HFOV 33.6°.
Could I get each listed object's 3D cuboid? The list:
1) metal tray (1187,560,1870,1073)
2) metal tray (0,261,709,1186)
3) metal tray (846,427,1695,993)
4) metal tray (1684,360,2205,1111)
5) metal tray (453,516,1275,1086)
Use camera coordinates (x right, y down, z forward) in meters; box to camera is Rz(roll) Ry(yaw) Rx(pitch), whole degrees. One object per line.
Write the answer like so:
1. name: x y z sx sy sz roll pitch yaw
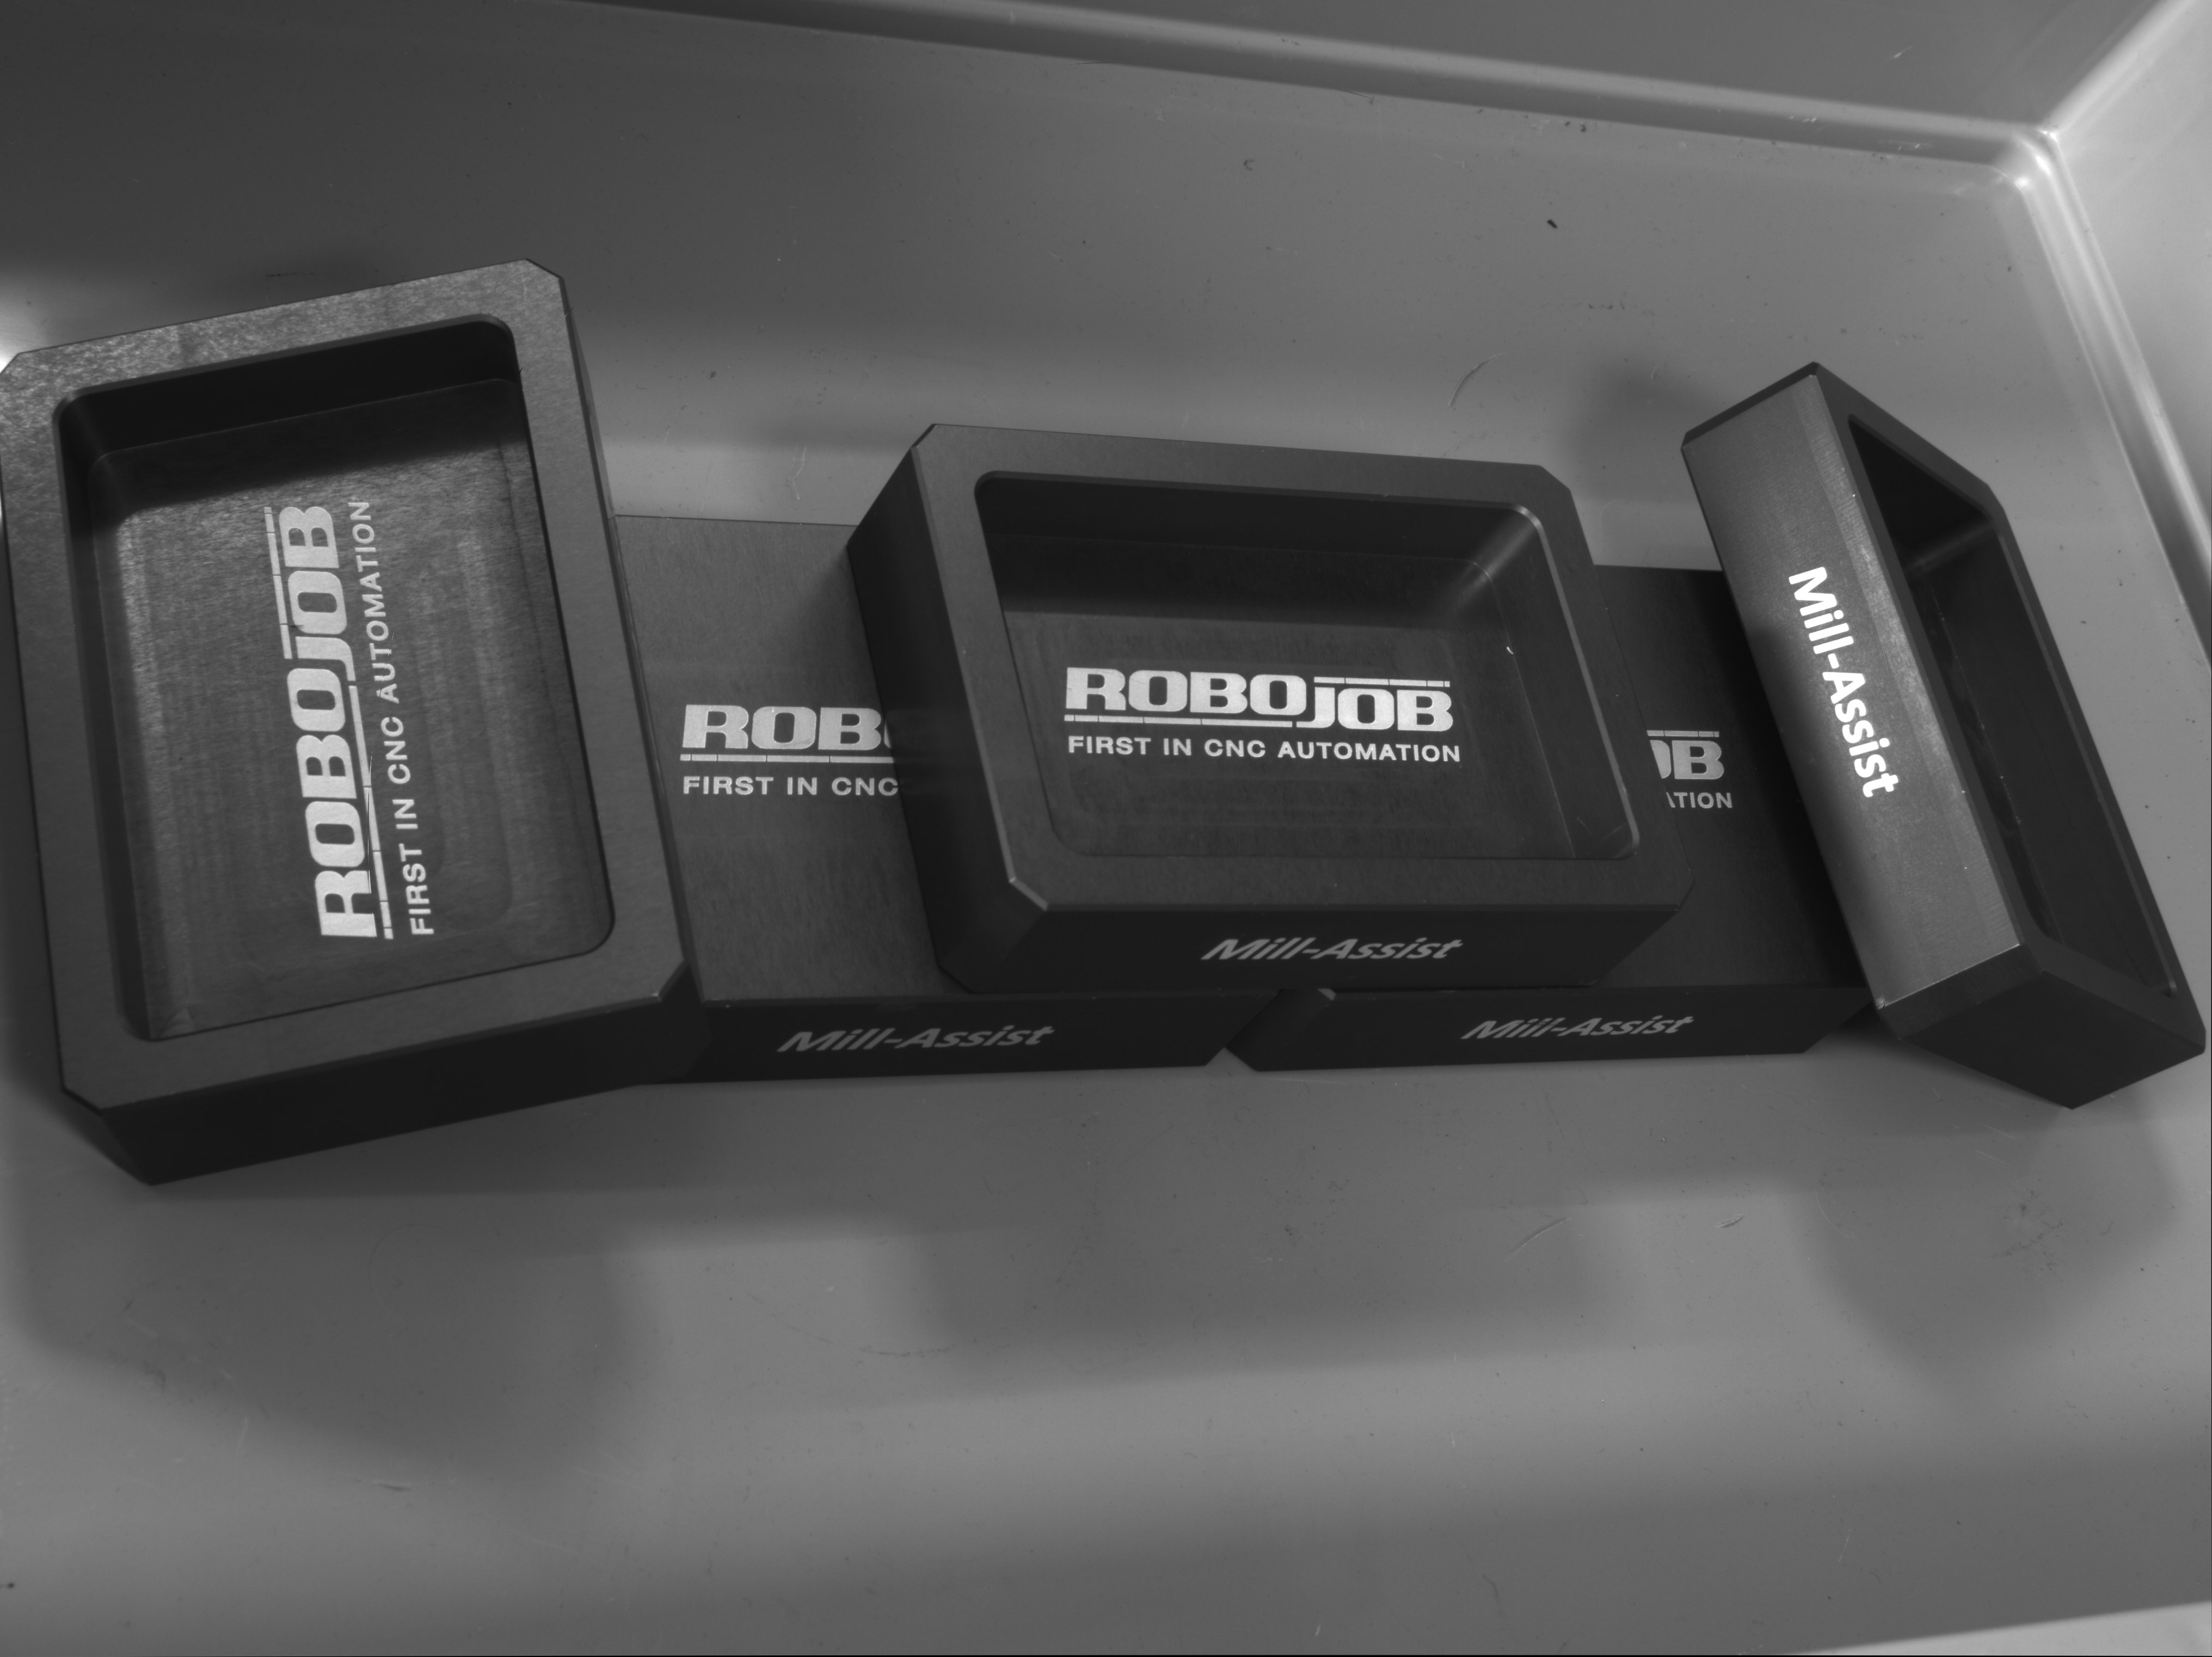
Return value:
1. metal tray: 0.074 -0.003 0.677 0.130 0.030 0.090 0 61 -28
2. metal tray: -0.117 -0.018 0.560 0.090 0.030 0.130 -11 65 -5
3. metal tray: 0.028 -0.019 0.622 0.130 0.030 0.090 1 61 -28
4. metal tray: 0.162 -0.017 0.706 0.090 0.030 0.130 21 48 -51
5. metal tray: -0.041 -0.005 0.616 0.130 0.030 0.090 0 61 -28
